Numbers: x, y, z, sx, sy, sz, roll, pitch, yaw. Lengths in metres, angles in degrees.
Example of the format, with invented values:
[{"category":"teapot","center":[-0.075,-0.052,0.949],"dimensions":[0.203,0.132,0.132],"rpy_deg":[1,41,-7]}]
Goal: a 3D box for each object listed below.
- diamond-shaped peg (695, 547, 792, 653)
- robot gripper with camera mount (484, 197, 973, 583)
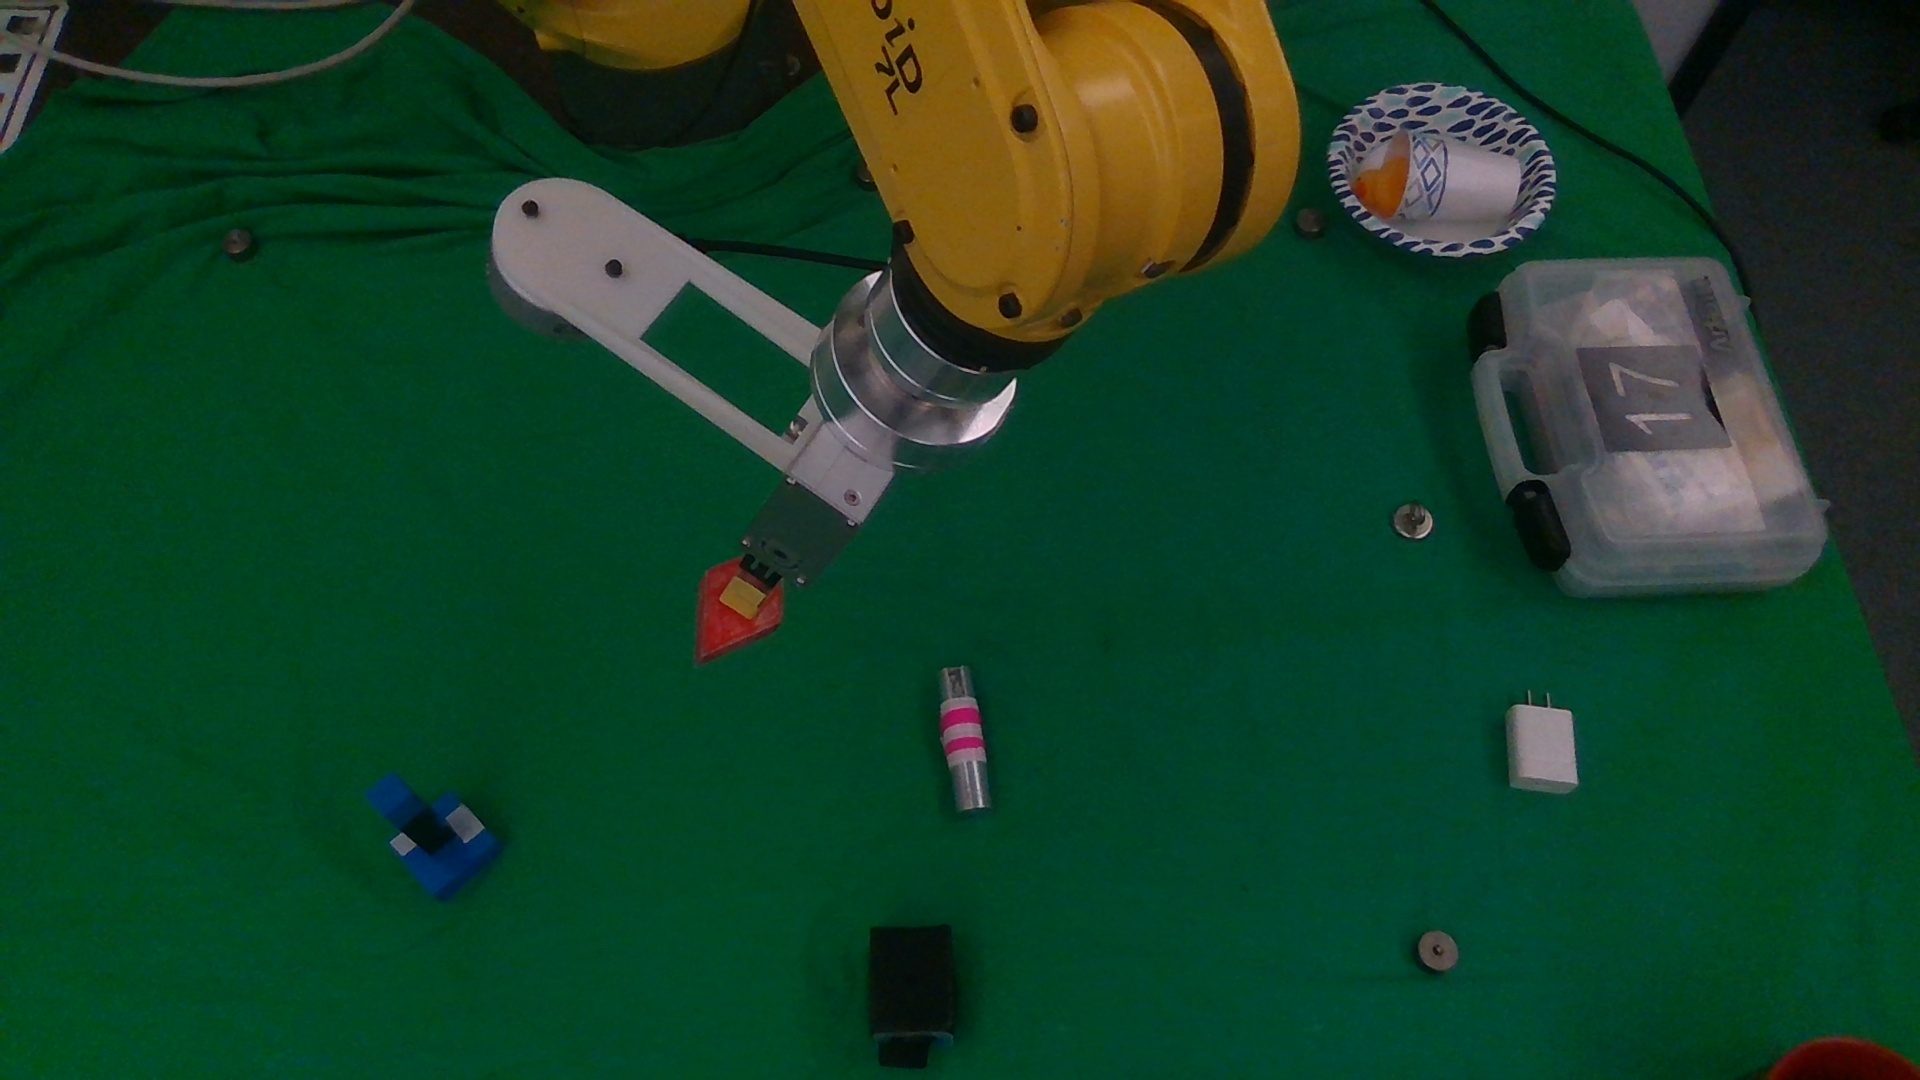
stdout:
[{"category":"diamond-shaped peg","center":[-0.098,0.012,0.720],"dimensions":[0.045,0.122,0.074],"rpy_deg":[13,65,-20]},{"category":"robot gripper with camera mount","center":[-0.126,-0.066,0.620],"dimensions":[0.193,0.159,0.119],"rpy_deg":[30,60,-6]}]
